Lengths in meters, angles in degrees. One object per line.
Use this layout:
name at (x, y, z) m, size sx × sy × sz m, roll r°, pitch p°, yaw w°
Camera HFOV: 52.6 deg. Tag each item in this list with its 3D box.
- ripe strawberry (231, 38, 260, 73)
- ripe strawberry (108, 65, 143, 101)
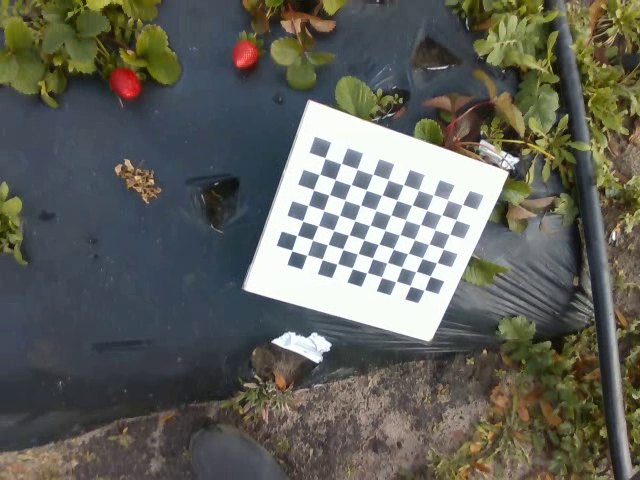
ripe strawberry at (-0.102, -0.241, 0.853) m, size 0.044 × 0.052 × 0.041 m, roll 40°, pitch -38°, yaw -27°
ripe strawberry at (-0.251, -0.196, 0.831) m, size 0.050 × 0.046 × 0.050 m, roll 16°, pitch 34°, yaw -23°
